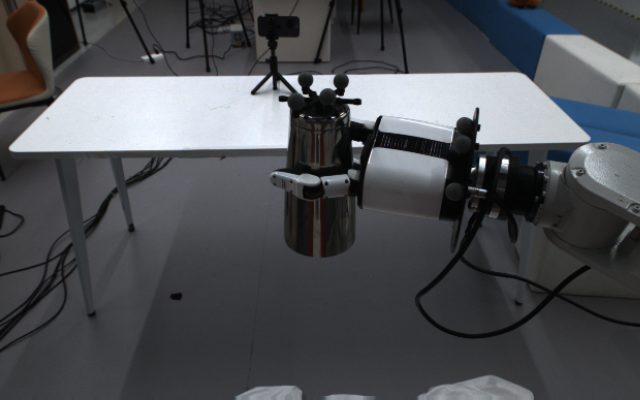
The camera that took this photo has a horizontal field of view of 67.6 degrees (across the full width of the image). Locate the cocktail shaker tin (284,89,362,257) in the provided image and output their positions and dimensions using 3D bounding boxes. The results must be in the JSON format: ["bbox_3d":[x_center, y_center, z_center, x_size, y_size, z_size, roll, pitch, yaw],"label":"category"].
[{"bbox_3d":[0.002,-0.029,0.568,0.093,0.170,0.093,0,33,0],"label":"cocktail shaker tin"}]
